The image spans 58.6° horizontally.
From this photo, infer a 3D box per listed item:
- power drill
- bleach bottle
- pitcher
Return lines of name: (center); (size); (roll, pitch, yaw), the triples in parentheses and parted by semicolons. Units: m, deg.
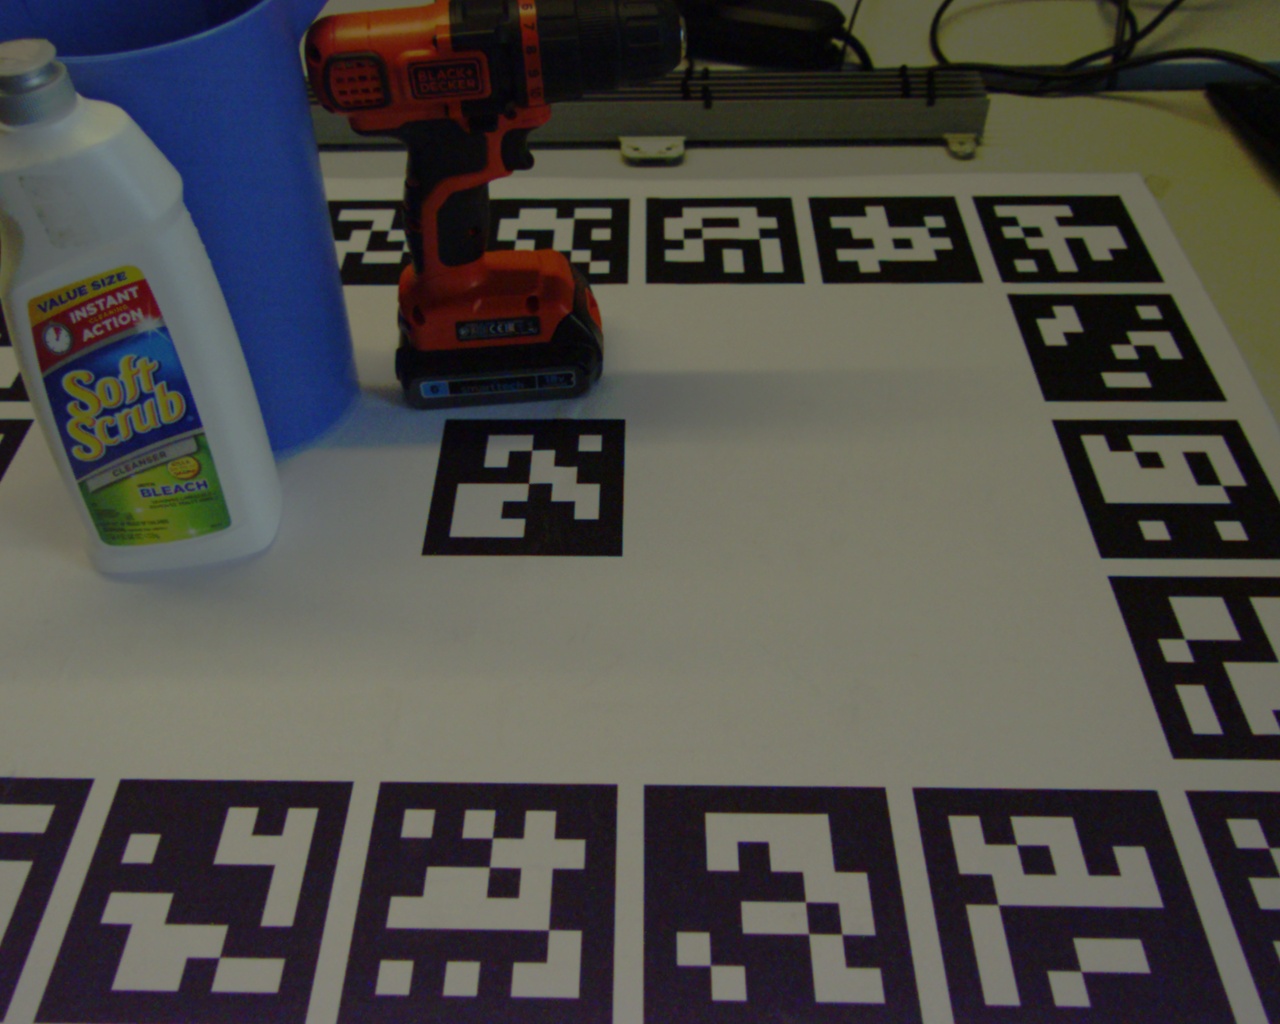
power drill: (-0.057, -0.167, 0.615); (0.184, 0.187, 0.057); (-1, 52, -7)
bleach bottle: (-0.235, -0.094, 0.517); (0.102, 0.250, 0.068); (-6, 50, -4)
pitcher: (-0.225, -0.158, 0.599); (0.187, 0.241, 0.135); (-22, 54, -17)
